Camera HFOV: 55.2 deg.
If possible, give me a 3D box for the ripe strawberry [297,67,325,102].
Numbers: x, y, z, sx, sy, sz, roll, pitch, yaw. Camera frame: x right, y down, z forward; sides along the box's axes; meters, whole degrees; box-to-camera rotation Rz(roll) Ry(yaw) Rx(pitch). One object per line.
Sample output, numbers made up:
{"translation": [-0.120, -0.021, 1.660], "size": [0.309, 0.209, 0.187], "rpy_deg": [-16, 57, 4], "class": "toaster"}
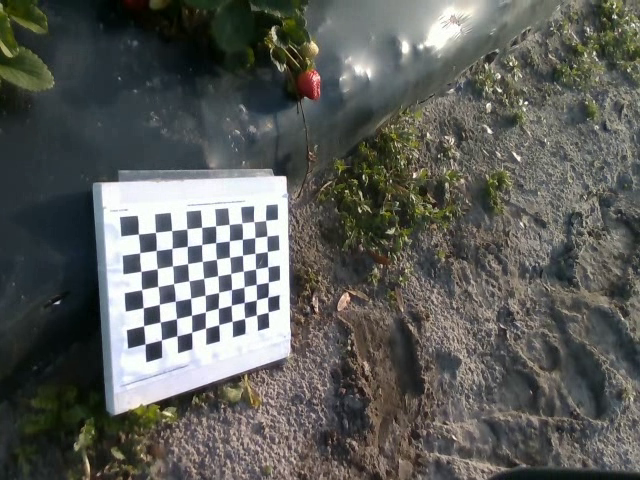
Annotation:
{"translation": [-0.010, -0.243, 0.940], "size": [0.035, 0.050, 0.048], "rpy_deg": [-1, 26, 46], "class": "ripe strawberry"}
